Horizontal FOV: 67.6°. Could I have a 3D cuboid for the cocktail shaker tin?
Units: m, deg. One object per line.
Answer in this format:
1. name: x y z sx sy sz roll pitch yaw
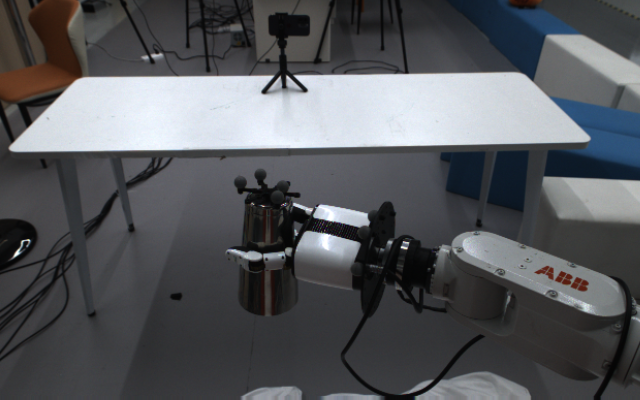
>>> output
1. cocktail shaker tin: -0.075 0.073 0.708 0.093 0.170 0.093 2 26 -1
